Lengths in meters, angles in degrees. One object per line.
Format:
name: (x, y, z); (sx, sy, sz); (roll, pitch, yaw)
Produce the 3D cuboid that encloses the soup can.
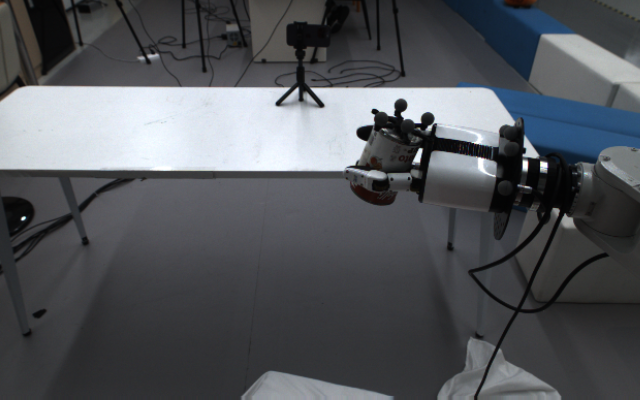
soup can: (0.089, -0.053, 0.649); (0.067, 0.101, 0.067); (14, 35, -10)
